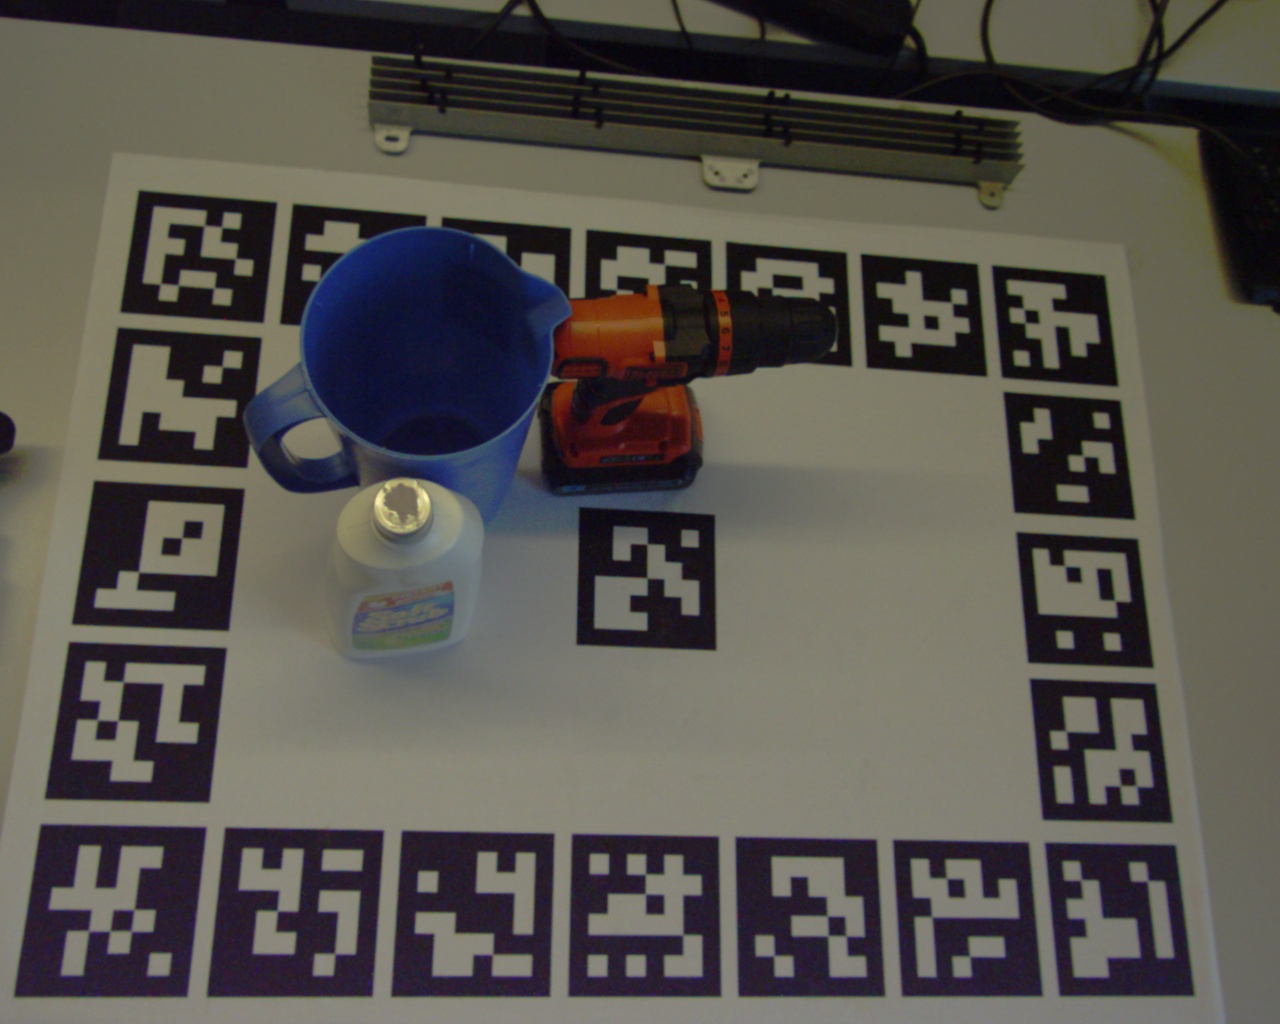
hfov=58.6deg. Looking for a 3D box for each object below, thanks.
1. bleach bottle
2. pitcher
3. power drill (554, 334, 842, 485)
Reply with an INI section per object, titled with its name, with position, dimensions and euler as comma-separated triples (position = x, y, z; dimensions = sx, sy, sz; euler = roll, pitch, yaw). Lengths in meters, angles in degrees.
[bleach bottle]
position = -0.150, 0.033, 0.686
dimensions = 0.102, 0.251, 0.068
euler = -4, 76, -10
[pitcher]
position = -0.141, -0.060, 0.733
dimensions = 0.188, 0.243, 0.133
euler = -24, 82, -14
[power drill]
position = 0.023, -0.066, 0.769
dimensions = 0.183, 0.188, 0.057
euler = -1, 78, -15
